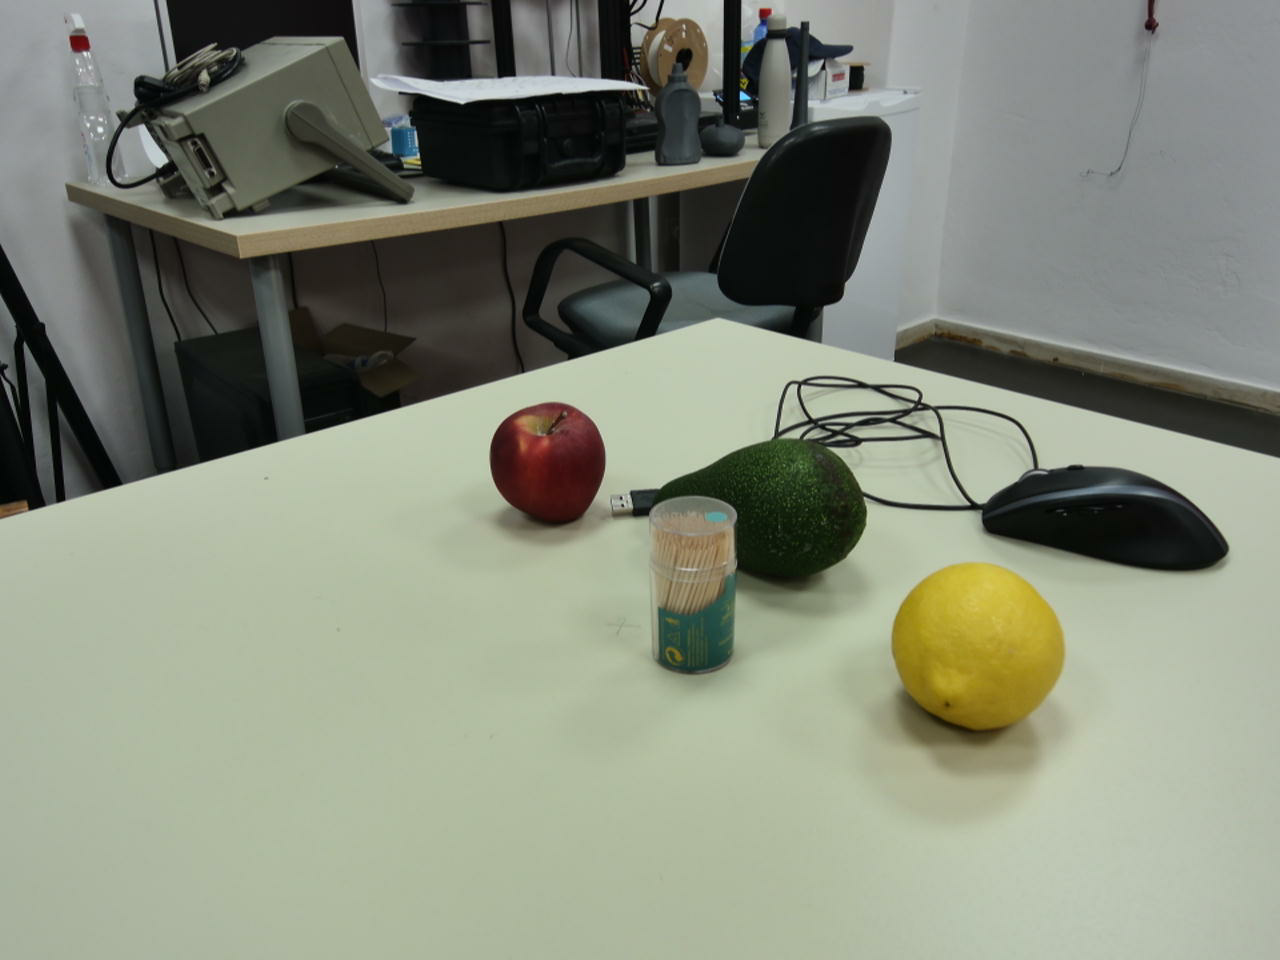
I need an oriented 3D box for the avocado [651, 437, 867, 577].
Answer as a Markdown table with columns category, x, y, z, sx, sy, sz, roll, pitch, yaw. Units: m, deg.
| category | x | y | z | sx | sy | sz | roll | pitch | yaw |
| --- | --- | --- | --- | --- | --- | --- | --- | --- | --- |
| avocado | 0.069 | 0.010 | 0.542 | 0.074 | 0.076 | 0.123 | -16 | 28 | -32 |
